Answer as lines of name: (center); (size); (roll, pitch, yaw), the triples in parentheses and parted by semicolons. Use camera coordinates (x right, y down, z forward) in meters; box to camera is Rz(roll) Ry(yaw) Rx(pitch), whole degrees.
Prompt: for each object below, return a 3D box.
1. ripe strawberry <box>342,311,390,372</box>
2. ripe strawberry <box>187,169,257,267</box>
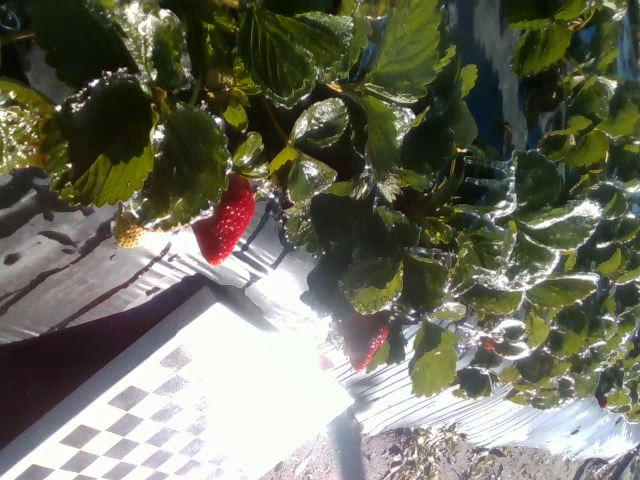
ripe strawberry: (0.041, 0.093, 0.532); (0.044, 0.061, 0.048); (13, -16, 36)
ripe strawberry: (-0.062, -0.009, 0.356); (0.046, 0.061, 0.042); (0, -18, 37)
